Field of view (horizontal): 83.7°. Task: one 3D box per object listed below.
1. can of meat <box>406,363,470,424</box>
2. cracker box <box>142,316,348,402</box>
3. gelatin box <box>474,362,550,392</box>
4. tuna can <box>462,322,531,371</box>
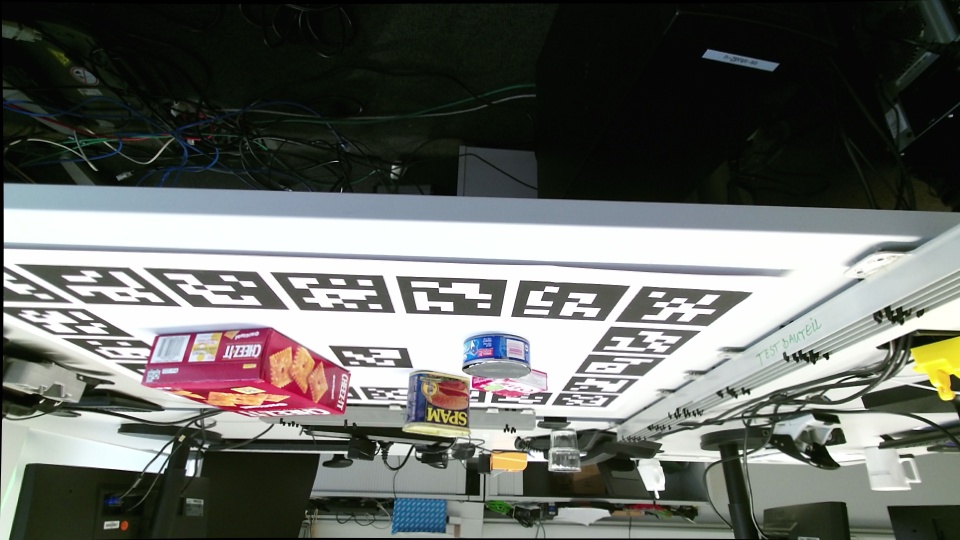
[{"bbox_3d":[-0.066,0.190,0.827,0.102,0.083,0.058,16,151,-28],"label":"can of meat"},{"bbox_3d":[-0.306,0.131,0.730,0.165,0.071,0.214,-4,155,15],"label":"cracker box"},{"bbox_3d":[0.049,0.156,0.796,0.090,0.030,0.073,27,147,-36],"label":"gelatin box"},{"bbox_3d":[0.019,0.095,0.665,0.086,0.033,0.086,0,150,0],"label":"tuna can"}]
